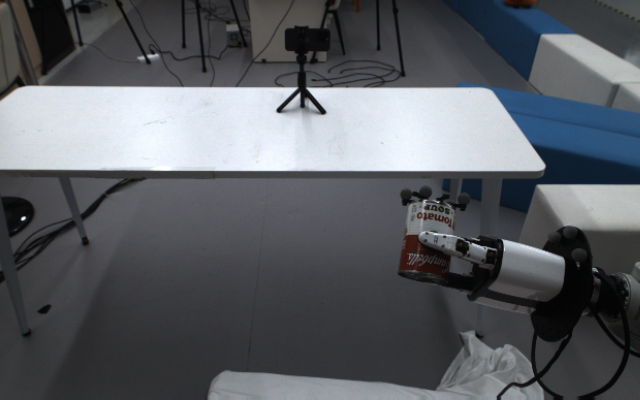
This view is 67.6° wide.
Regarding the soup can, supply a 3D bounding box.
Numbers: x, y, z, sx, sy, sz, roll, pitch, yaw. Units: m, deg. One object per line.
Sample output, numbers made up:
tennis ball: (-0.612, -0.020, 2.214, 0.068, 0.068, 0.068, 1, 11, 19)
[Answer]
soup can: (0.150, 0.055, 0.663, 0.067, 0.067, 0.101, 8, 74, 9)
